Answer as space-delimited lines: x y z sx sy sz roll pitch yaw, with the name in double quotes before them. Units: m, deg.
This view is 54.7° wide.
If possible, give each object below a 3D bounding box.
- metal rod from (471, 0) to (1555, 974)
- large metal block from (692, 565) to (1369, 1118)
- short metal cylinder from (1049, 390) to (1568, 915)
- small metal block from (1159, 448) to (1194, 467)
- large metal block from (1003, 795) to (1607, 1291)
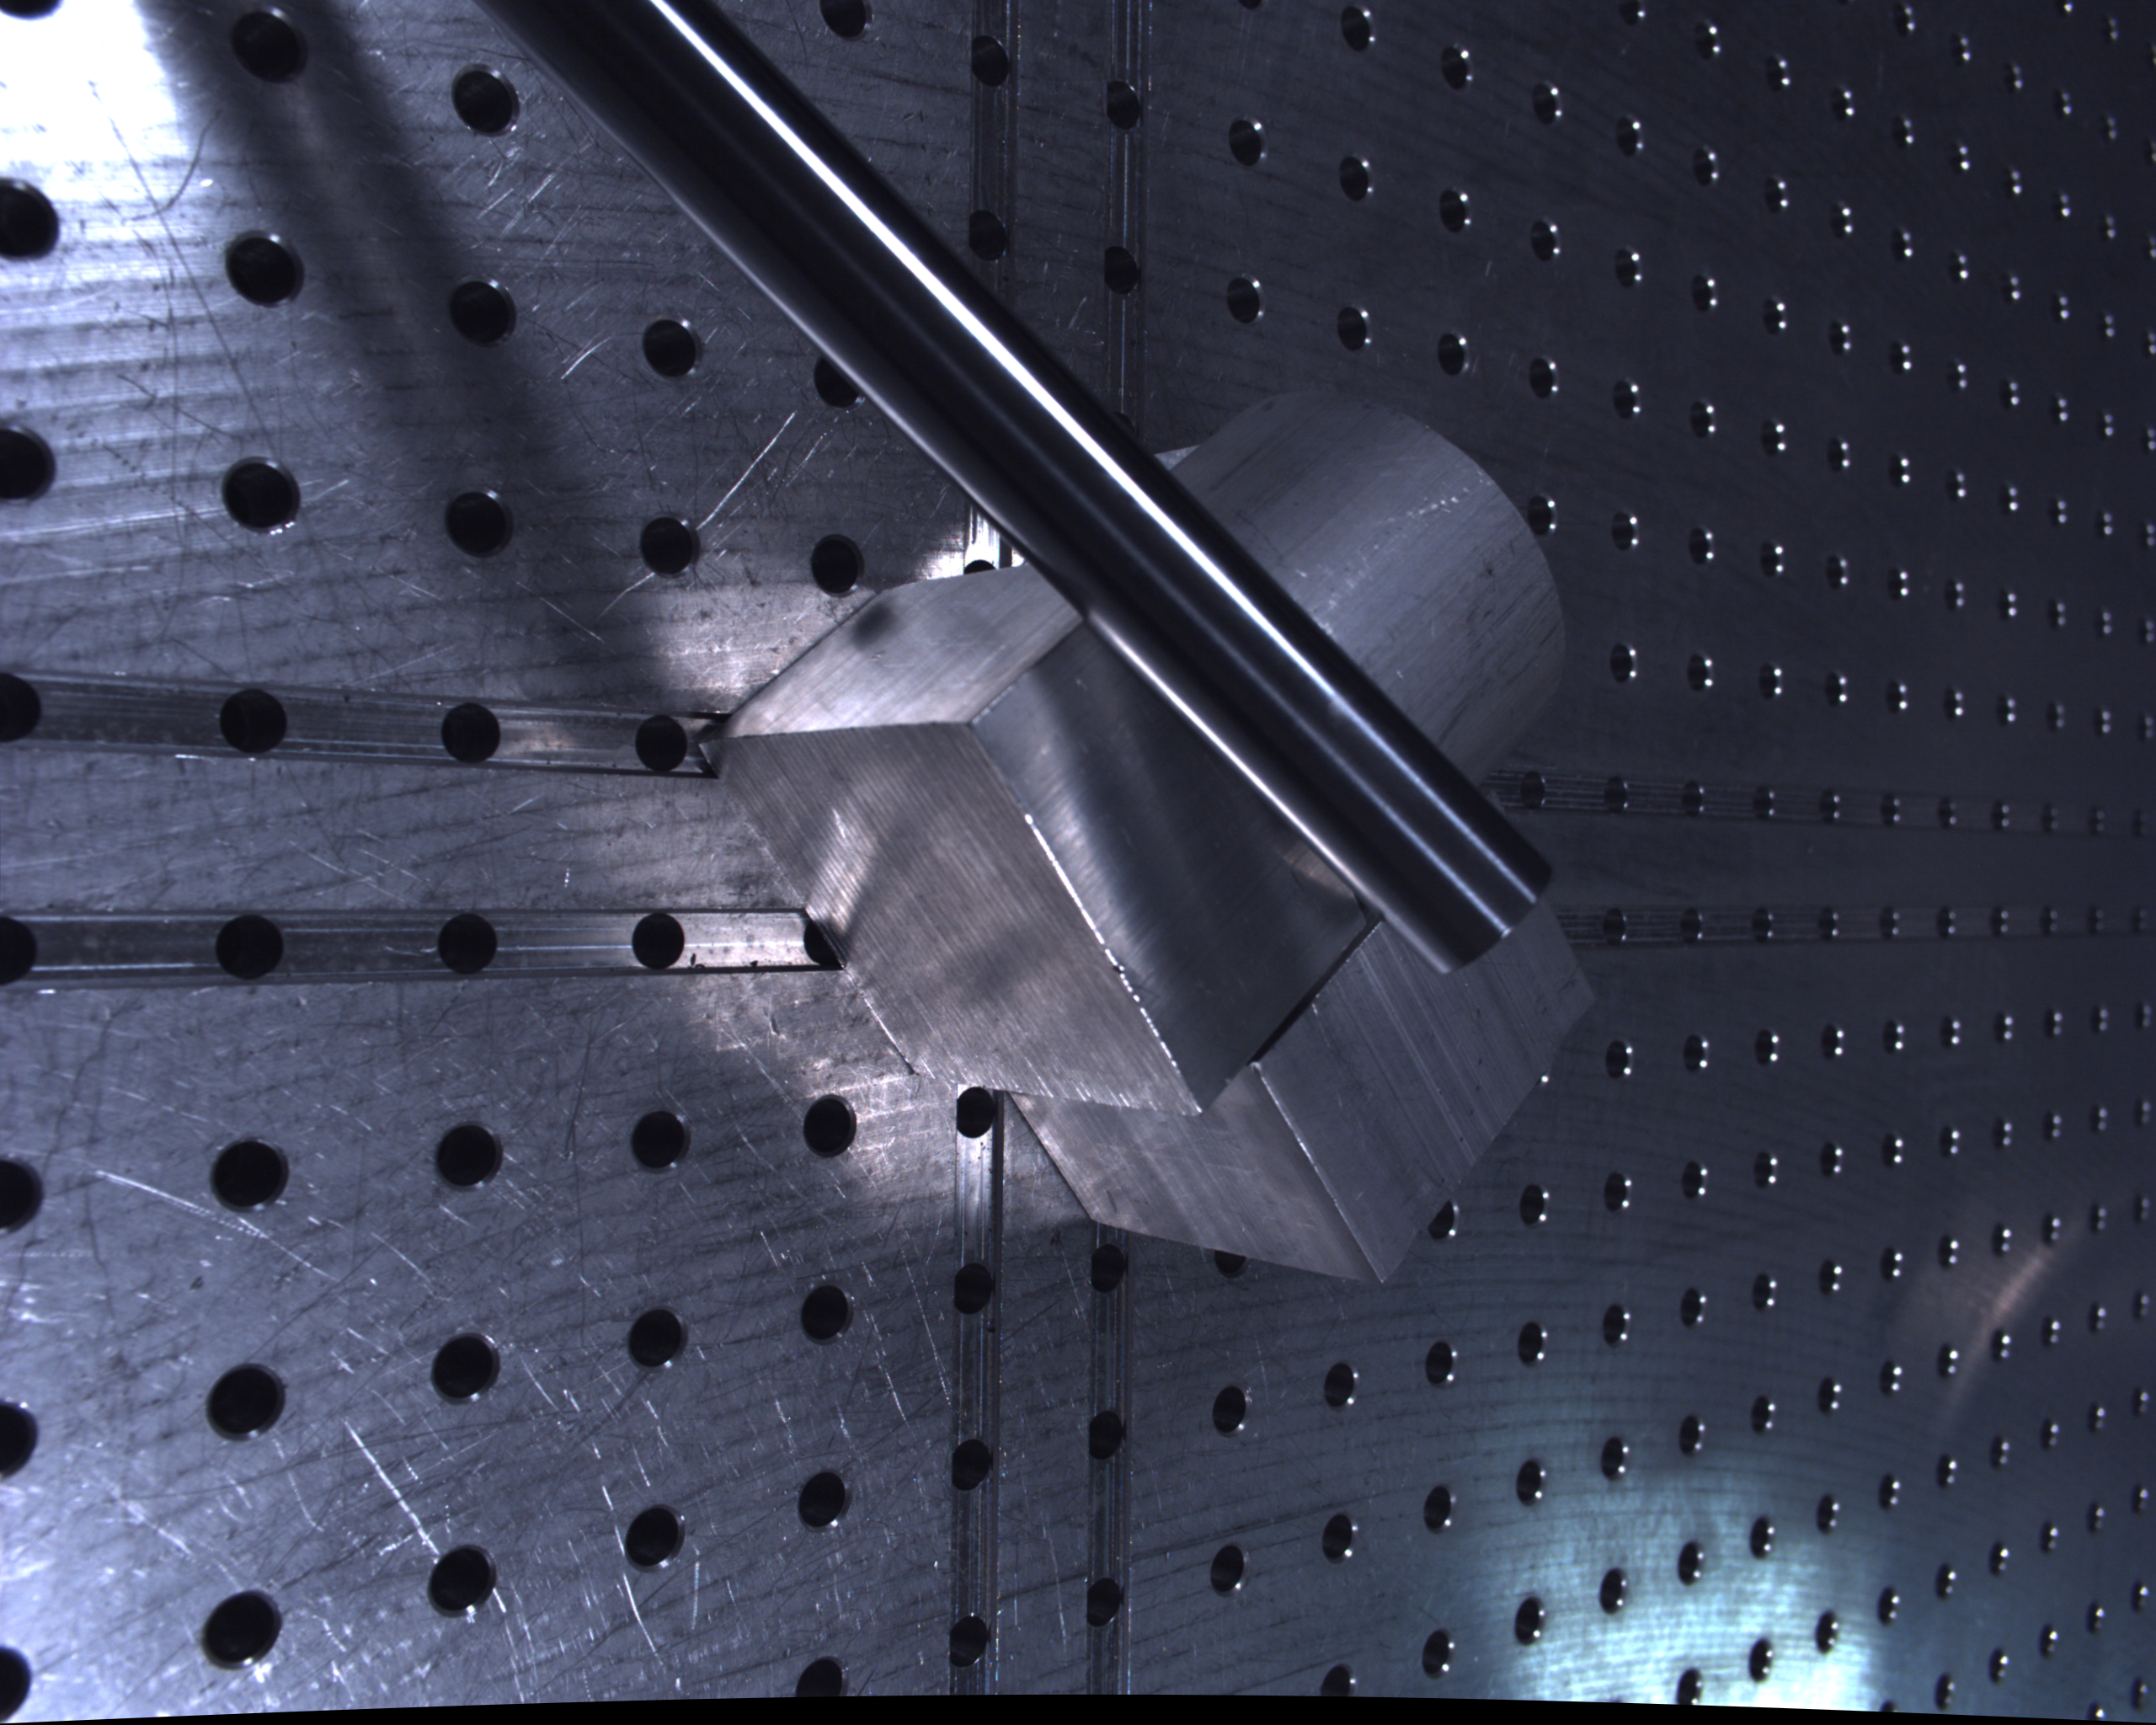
"metal rod" -0.041 -0.096 0.308 0.300 0.025 0.025 45 61 -7
"large metal block" -0.009 -0.005 0.369 0.050 0.080 0.080 -45 118 -31
"short metal cylinder" 0.040 -0.037 0.375 0.050 0.080 0.080 -44 117 -31
"small metal block" 0.017 -0.049 0.426 0.050 0.025 0.050 -49 120 -29
"large metal block" 0.041 0.031 0.408 0.080 0.080 0.050 -45 118 -31
